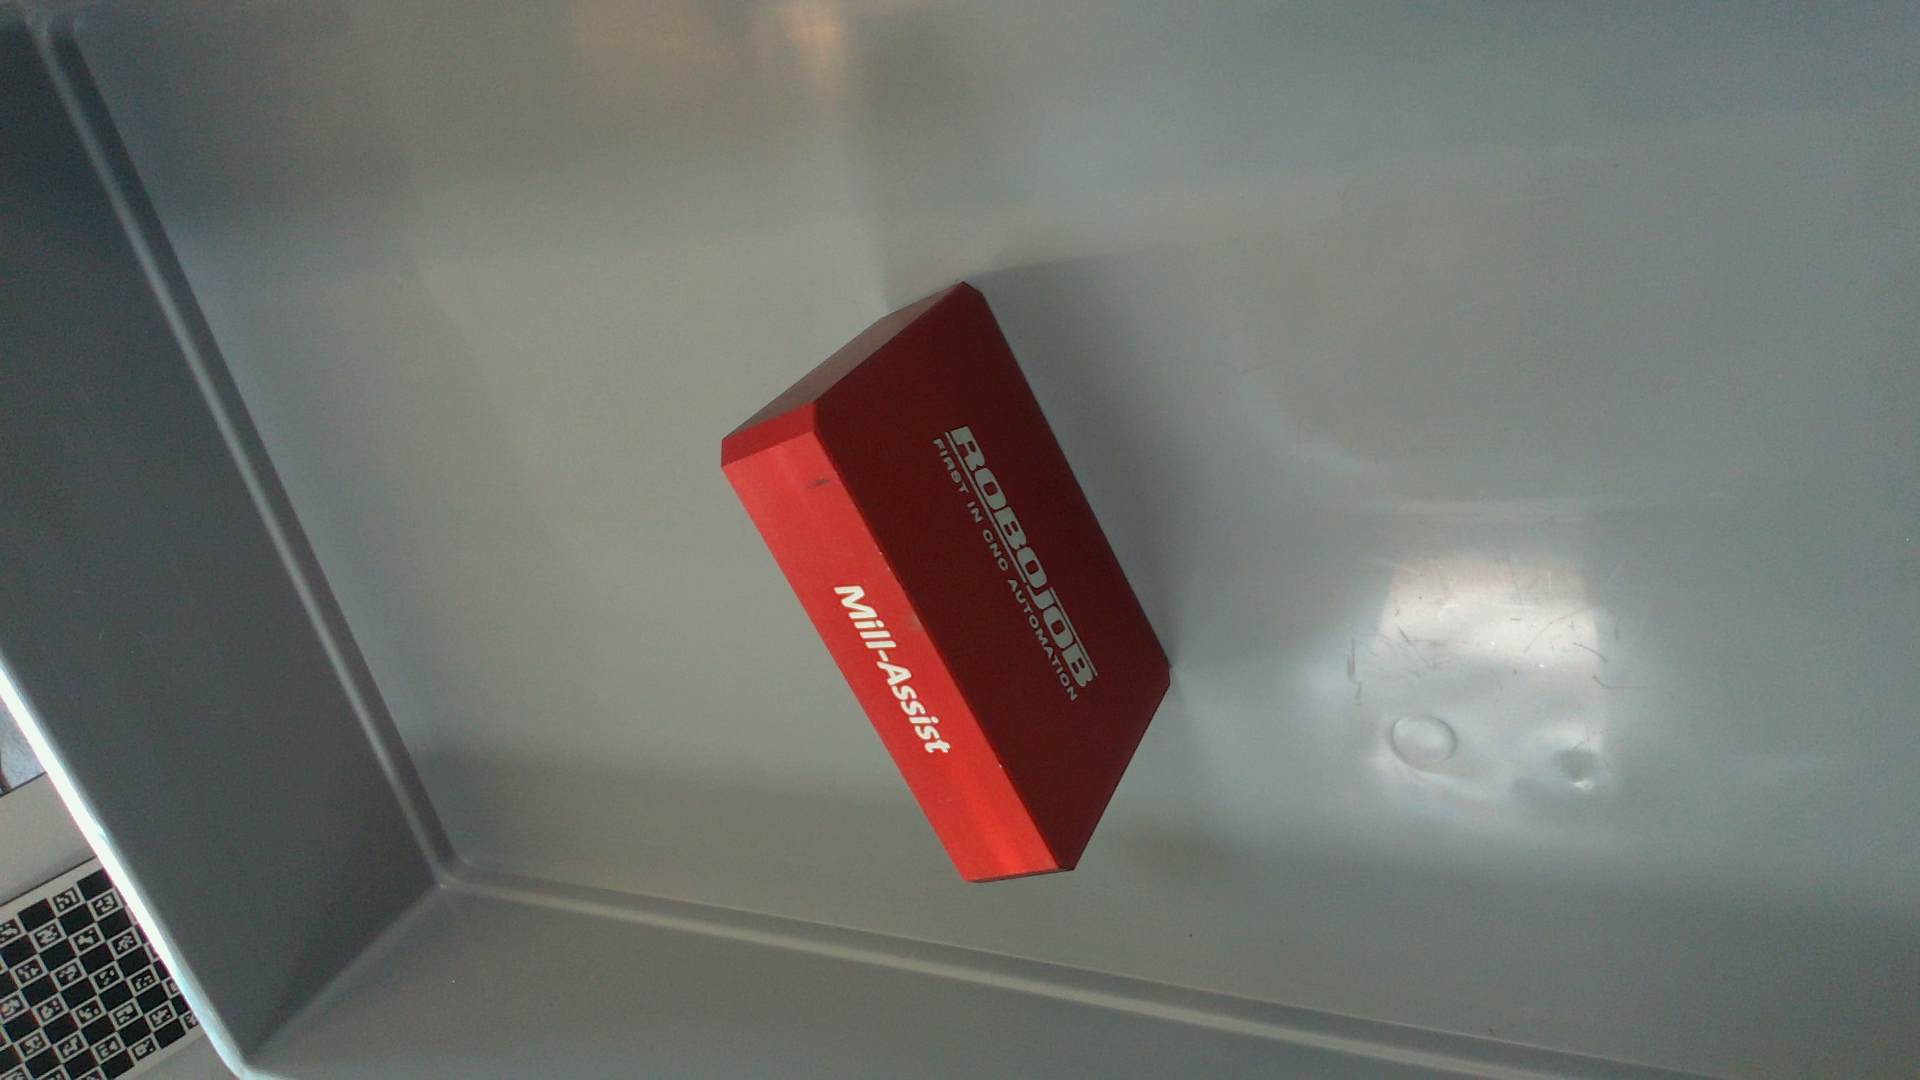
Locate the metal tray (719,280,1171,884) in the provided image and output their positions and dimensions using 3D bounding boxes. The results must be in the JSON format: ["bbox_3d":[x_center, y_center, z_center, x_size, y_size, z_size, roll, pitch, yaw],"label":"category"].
[{"bbox_3d":[0.003,0.010,0.352,0.030,0.090,0.130,-17,110,34],"label":"metal tray"}]
